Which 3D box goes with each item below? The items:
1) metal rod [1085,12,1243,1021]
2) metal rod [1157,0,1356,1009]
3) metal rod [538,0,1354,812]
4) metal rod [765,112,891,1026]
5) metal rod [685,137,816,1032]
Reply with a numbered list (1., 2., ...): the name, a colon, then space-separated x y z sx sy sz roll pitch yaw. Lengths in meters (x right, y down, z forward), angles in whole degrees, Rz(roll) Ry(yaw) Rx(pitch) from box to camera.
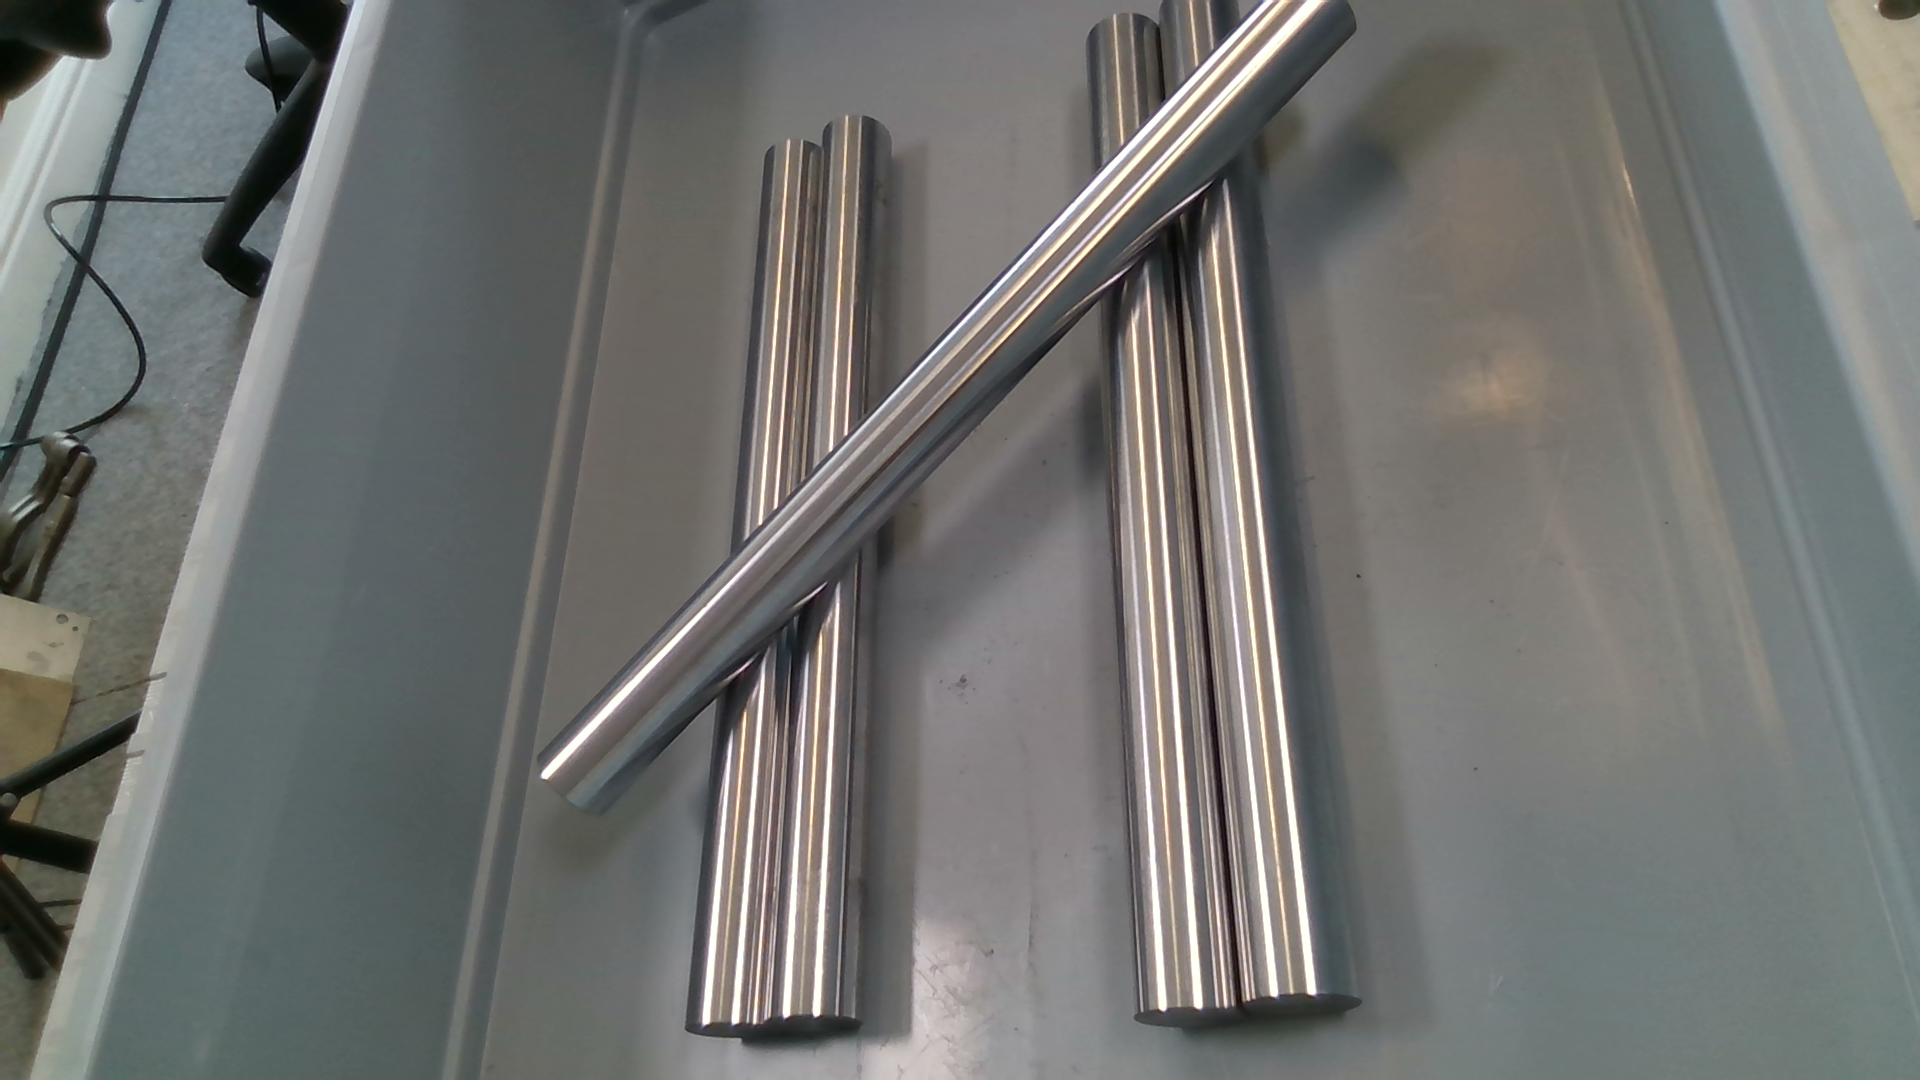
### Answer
1. metal rod: 0.051 -0.028 0.374 0.025 0.025 0.299 -14 59 25
2. metal rod: 0.073 -0.034 0.364 0.025 0.025 0.299 -14 59 25
3. metal rod: -0.006 -0.039 0.384 0.300 0.025 0.025 -46 51 3
4. metal rod: -0.037 -0.011 0.419 0.025 0.025 0.299 -14 59 25
5. metal rod: -0.059 -0.005 0.430 0.025 0.025 0.299 -14 59 25
